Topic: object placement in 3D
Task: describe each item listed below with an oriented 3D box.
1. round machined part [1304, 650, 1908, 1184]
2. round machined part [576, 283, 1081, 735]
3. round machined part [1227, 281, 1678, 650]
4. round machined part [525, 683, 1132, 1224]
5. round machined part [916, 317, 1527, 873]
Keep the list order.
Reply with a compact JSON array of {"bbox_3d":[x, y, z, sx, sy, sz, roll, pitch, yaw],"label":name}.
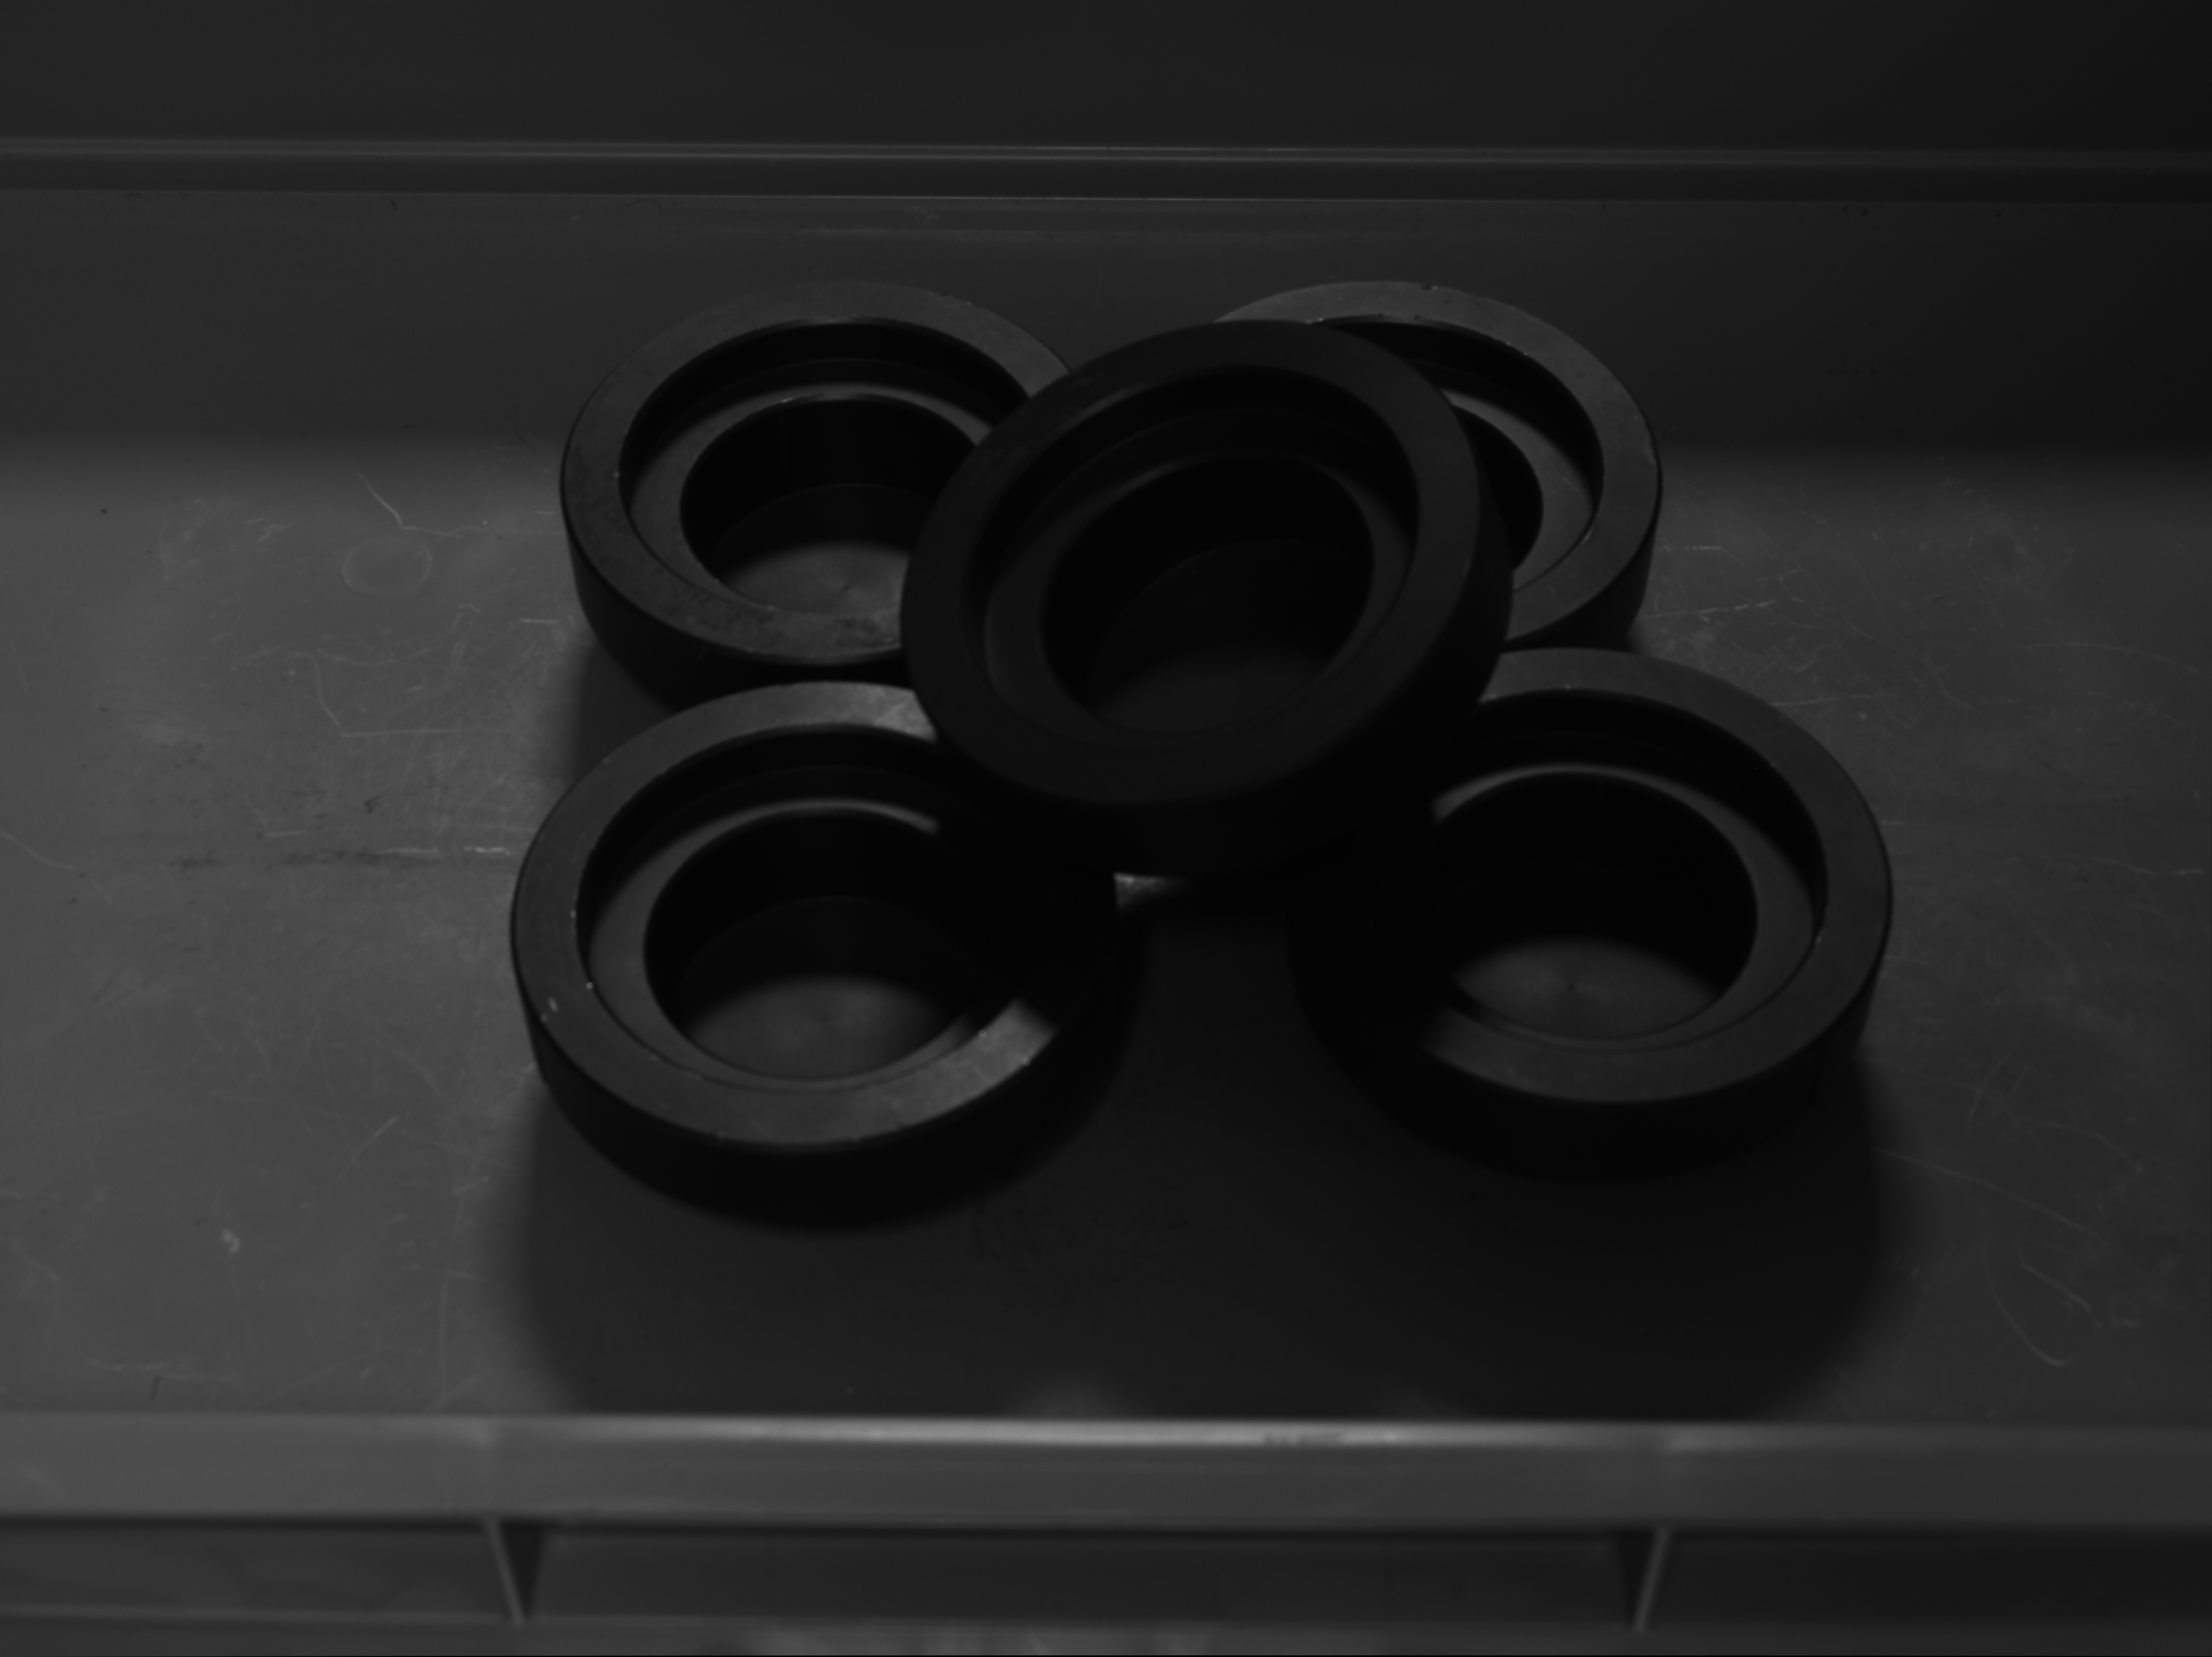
[{"bbox_3d":[0.082,0.020,0.613,0.098,0.042,0.098,0,50,0],"label":"round machined part"},{"bbox_3d":[-0.046,-0.052,0.673,0.098,0.042,0.098,0,50,0],"label":"round machined part"},{"bbox_3d":[0.054,-0.053,0.674,0.098,0.042,0.098,0,50,0],"label":"round machined part"},{"bbox_3d":[-0.045,0.026,0.608,0.098,0.042,0.098,0,50,0],"label":"round machined part"},{"bbox_3d":[0.022,-0.033,0.602,0.098,0.042,0.098,-11,53,15],"label":"round machined part"}]
